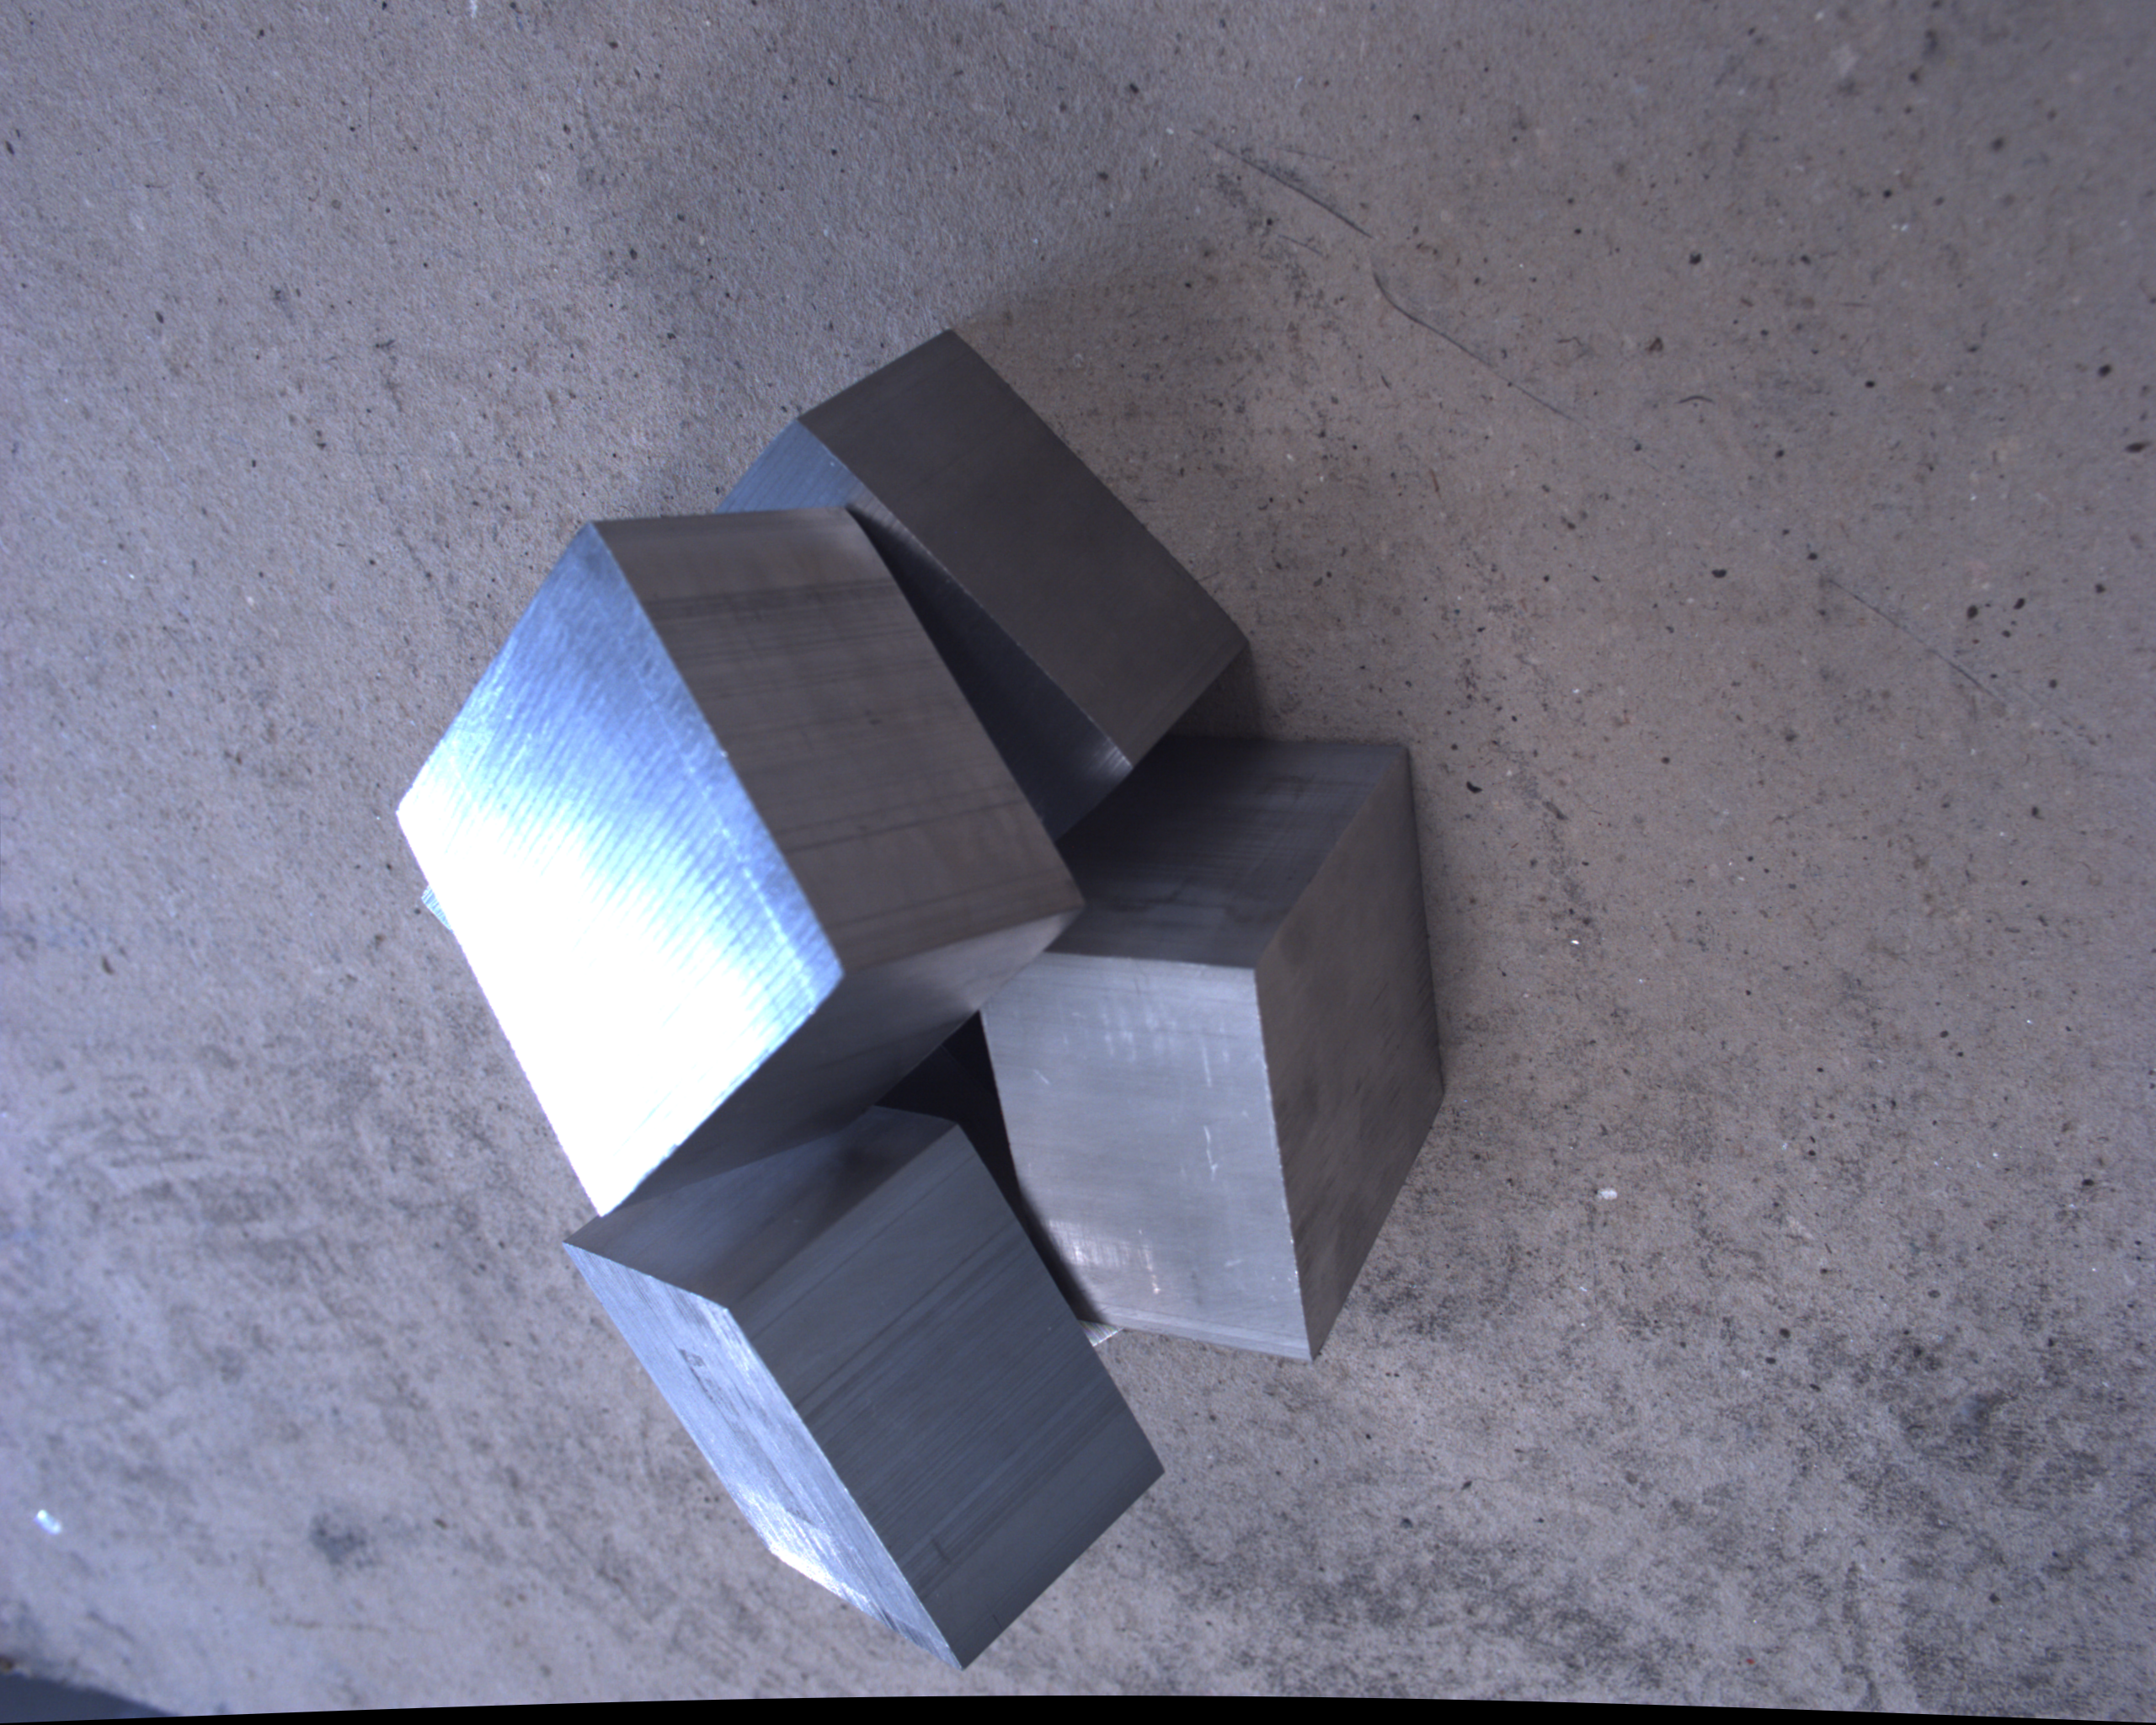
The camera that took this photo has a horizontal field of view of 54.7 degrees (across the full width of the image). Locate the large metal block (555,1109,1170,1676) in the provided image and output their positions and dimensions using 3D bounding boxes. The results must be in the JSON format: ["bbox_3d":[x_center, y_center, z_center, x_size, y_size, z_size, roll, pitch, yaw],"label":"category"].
[{"bbox_3d":[-0.041,0.092,0.387,0.080,0.050,0.080,-2,121,57],"label":"large metal block"}]

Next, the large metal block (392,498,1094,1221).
[{"bbox_3d":[-0.057,-0.001,0.336,0.080,0.050,0.080,-43,71,39],"label":"large metal block"}]

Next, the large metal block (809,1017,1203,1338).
[{"bbox_3d":[-0.020,0.060,0.442,0.080,0.050,0.080,46,129,-4],"label":"large metal block"}]

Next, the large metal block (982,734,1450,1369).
[{"bbox_3d":[0.028,0.030,0.377,0.050,0.080,0.079,4,120,27],"label":"large metal block"}]

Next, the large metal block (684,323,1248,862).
[{"bbox_3d":[-0.031,-0.037,0.384,0.080,0.050,0.080,46,128,-4],"label":"large metal block"}]

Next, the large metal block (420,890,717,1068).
[{"bbox_3d":[-0.076,0.004,0.436,0.080,0.050,0.080,46,129,-4],"label":"large metal block"}]
